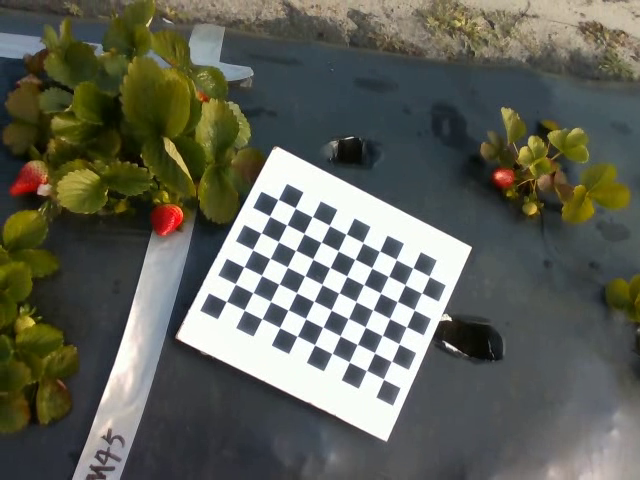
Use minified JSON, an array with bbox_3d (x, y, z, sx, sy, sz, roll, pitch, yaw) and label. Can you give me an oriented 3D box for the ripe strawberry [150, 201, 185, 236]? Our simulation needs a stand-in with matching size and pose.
[{"bbox_3d":[-0.174,-0.020,0.705,0.050,0.055,0.036,23,-30,-11],"label":"ripe strawberry"}]
